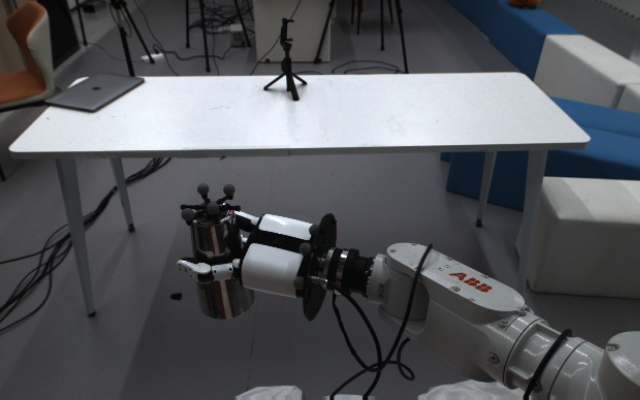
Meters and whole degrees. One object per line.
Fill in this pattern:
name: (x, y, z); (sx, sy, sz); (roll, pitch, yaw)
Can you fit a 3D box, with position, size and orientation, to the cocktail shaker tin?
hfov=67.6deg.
cocktail shaker tin: (-0.154, 0.089, 0.750); (0.093, 0.170, 0.093); (-2, 32, 1)
